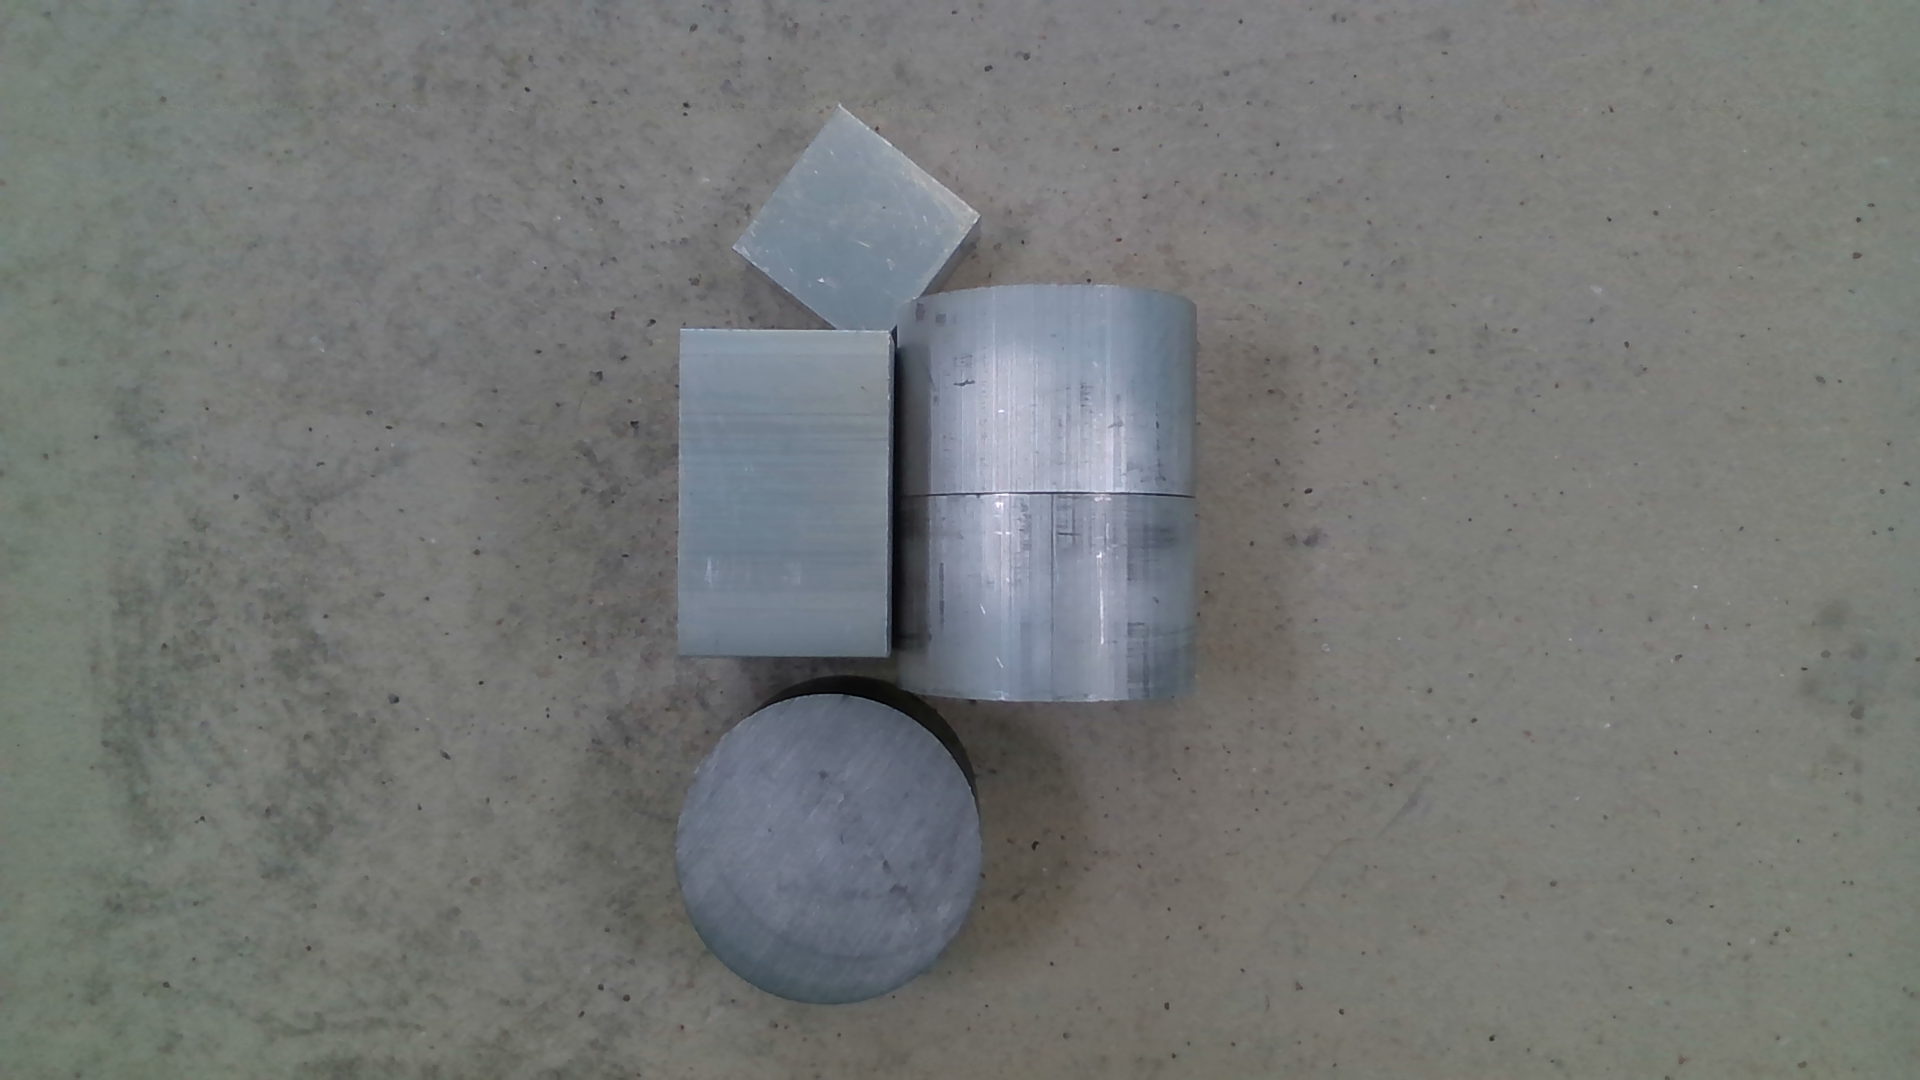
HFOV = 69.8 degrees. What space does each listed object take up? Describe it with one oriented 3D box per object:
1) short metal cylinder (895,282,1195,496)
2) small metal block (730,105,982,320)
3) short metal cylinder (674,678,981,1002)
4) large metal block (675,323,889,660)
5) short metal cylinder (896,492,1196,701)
[{"bbox_3d":[0.023,-0.036,0.368,0.080,0.080,0.050,1,90,0],"label":"short metal cylinder"},{"bbox_3d":[-0.029,-0.086,0.396,0.050,0.025,0.050,38,90,0],"label":"small metal block"},{"bbox_3d":[-0.035,0.080,0.383,0.080,0.050,0.080,0,90,0],"label":"short metal cylinder"},{"bbox_3d":[-0.043,-0.011,0.369,0.050,0.080,0.080,1,90,0],"label":"large metal block"},{"bbox_3d":[0.023,0.014,0.369,0.080,0.080,0.050,1,90,0],"label":"short metal cylinder"}]
